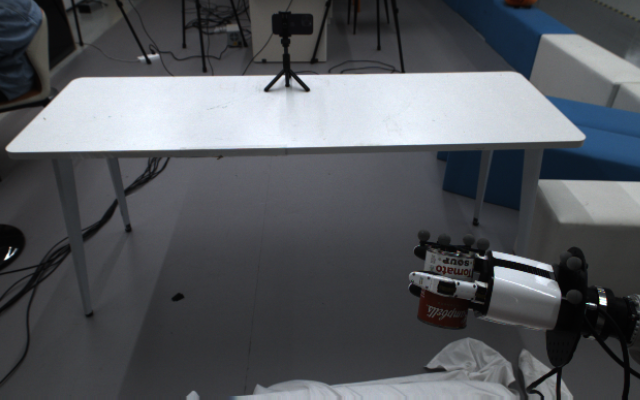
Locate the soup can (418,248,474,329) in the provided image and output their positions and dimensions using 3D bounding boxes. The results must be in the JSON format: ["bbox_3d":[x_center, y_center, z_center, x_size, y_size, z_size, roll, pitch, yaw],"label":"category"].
[{"bbox_3d":[0.177,0.119,0.673,0.067,0.101,0.067,7,3,0],"label":"soup can"}]
